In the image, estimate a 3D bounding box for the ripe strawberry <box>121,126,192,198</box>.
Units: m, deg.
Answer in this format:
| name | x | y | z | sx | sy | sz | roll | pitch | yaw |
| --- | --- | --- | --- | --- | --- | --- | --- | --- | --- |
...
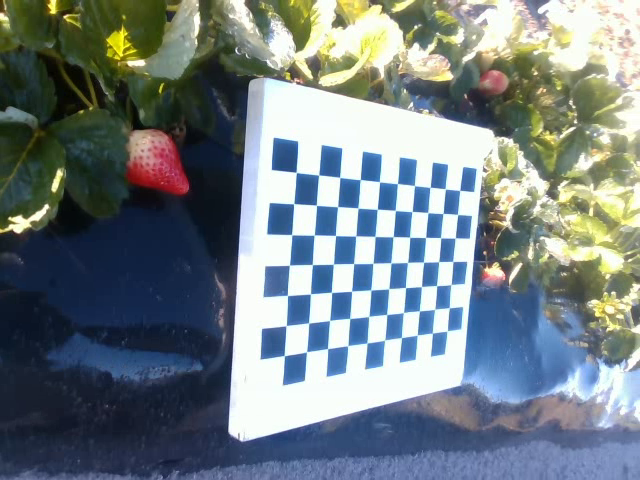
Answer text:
| name | x | y | z | sx | sy | sz | roll | pitch | yaw |
| --- | --- | --- | --- | --- | --- | --- | --- | --- | --- |
| ripe strawberry | -0.119 | -0.051 | 0.445 | 0.040 | 0.040 | 0.065 | 5 | -38 | 47 |
